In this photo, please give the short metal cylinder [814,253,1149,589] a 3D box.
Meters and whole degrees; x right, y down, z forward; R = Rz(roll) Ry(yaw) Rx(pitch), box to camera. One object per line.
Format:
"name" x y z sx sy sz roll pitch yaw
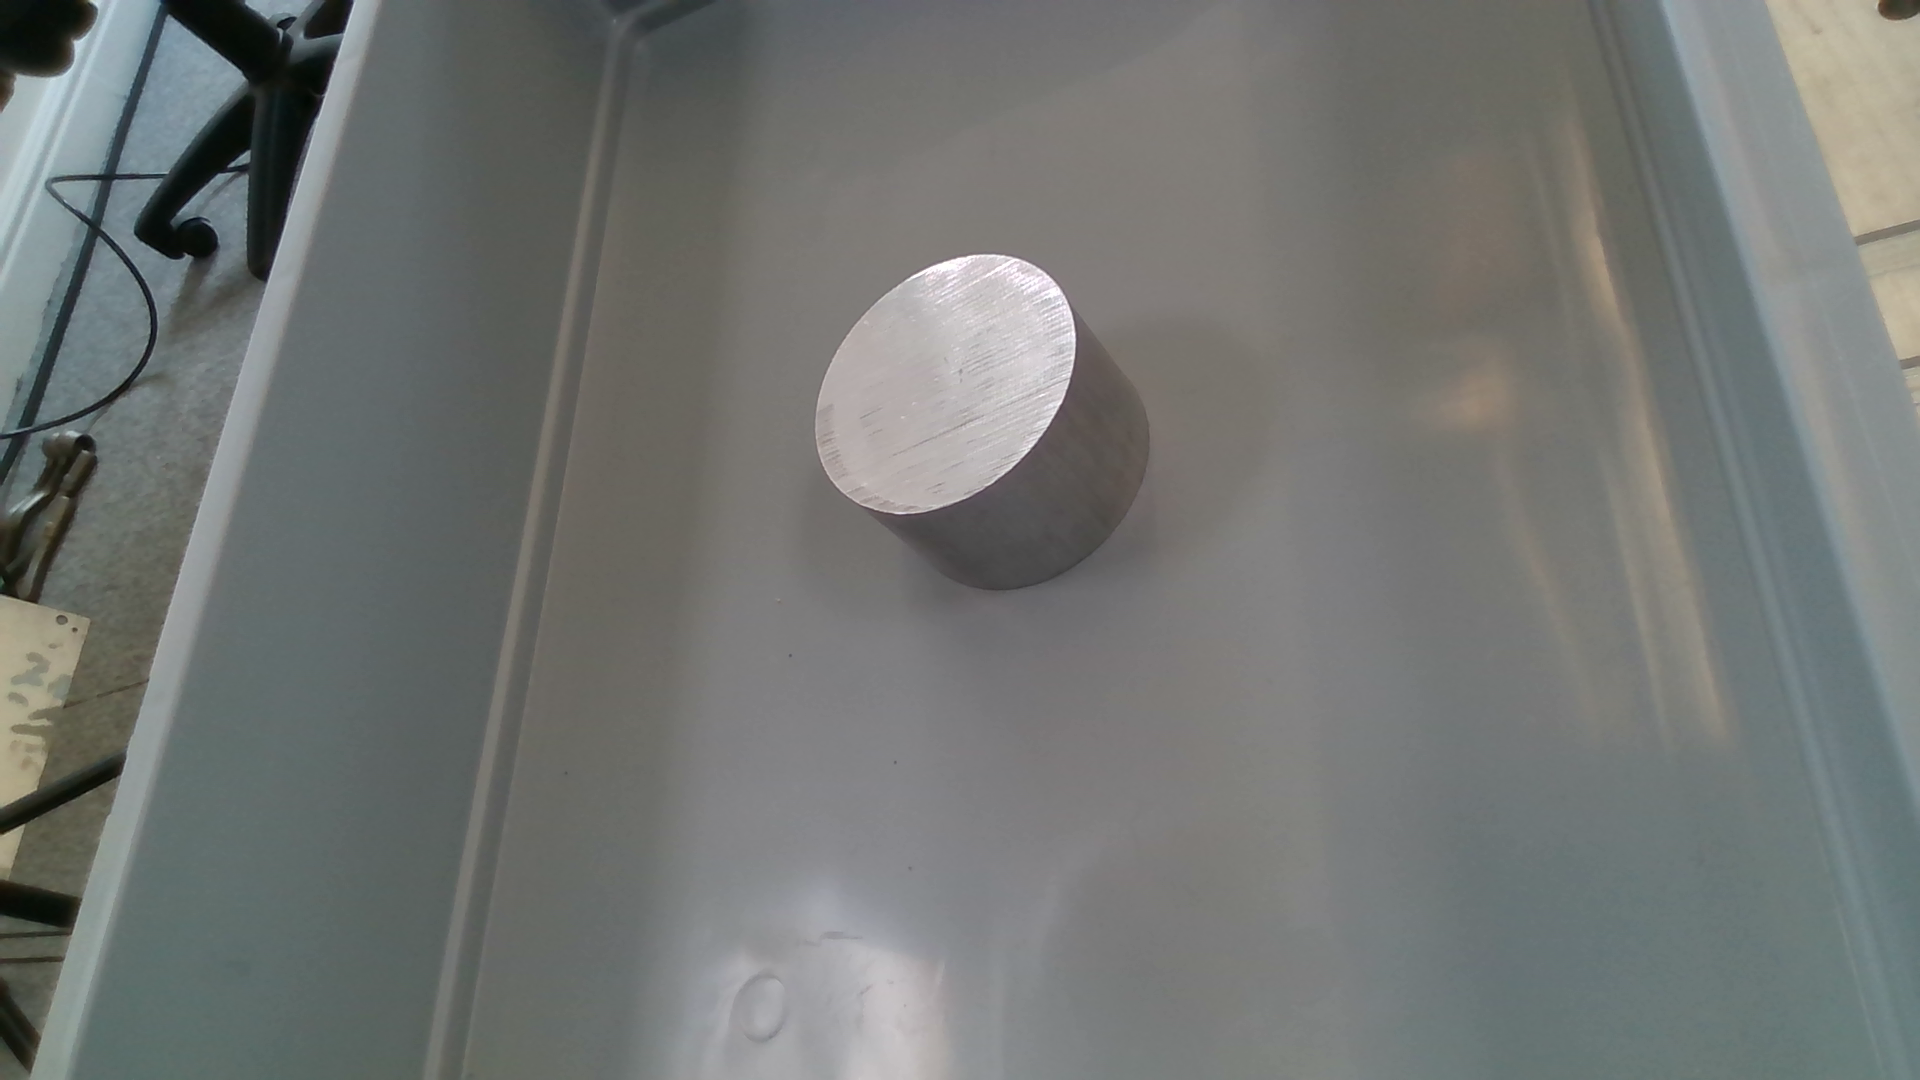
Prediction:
"short metal cylinder" 0.006 -0.033 0.388 0.080 0.050 0.080 -14 59 25
